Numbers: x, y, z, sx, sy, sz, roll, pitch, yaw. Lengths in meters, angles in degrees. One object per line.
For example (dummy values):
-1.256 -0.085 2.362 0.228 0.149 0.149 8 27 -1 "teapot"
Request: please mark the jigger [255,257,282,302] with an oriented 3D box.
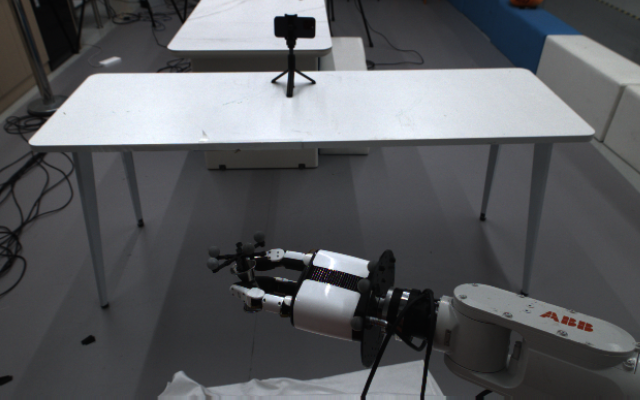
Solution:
-0.101 0.126 0.715 0.043 0.071 0.043 -14 22 6 "jigger"
